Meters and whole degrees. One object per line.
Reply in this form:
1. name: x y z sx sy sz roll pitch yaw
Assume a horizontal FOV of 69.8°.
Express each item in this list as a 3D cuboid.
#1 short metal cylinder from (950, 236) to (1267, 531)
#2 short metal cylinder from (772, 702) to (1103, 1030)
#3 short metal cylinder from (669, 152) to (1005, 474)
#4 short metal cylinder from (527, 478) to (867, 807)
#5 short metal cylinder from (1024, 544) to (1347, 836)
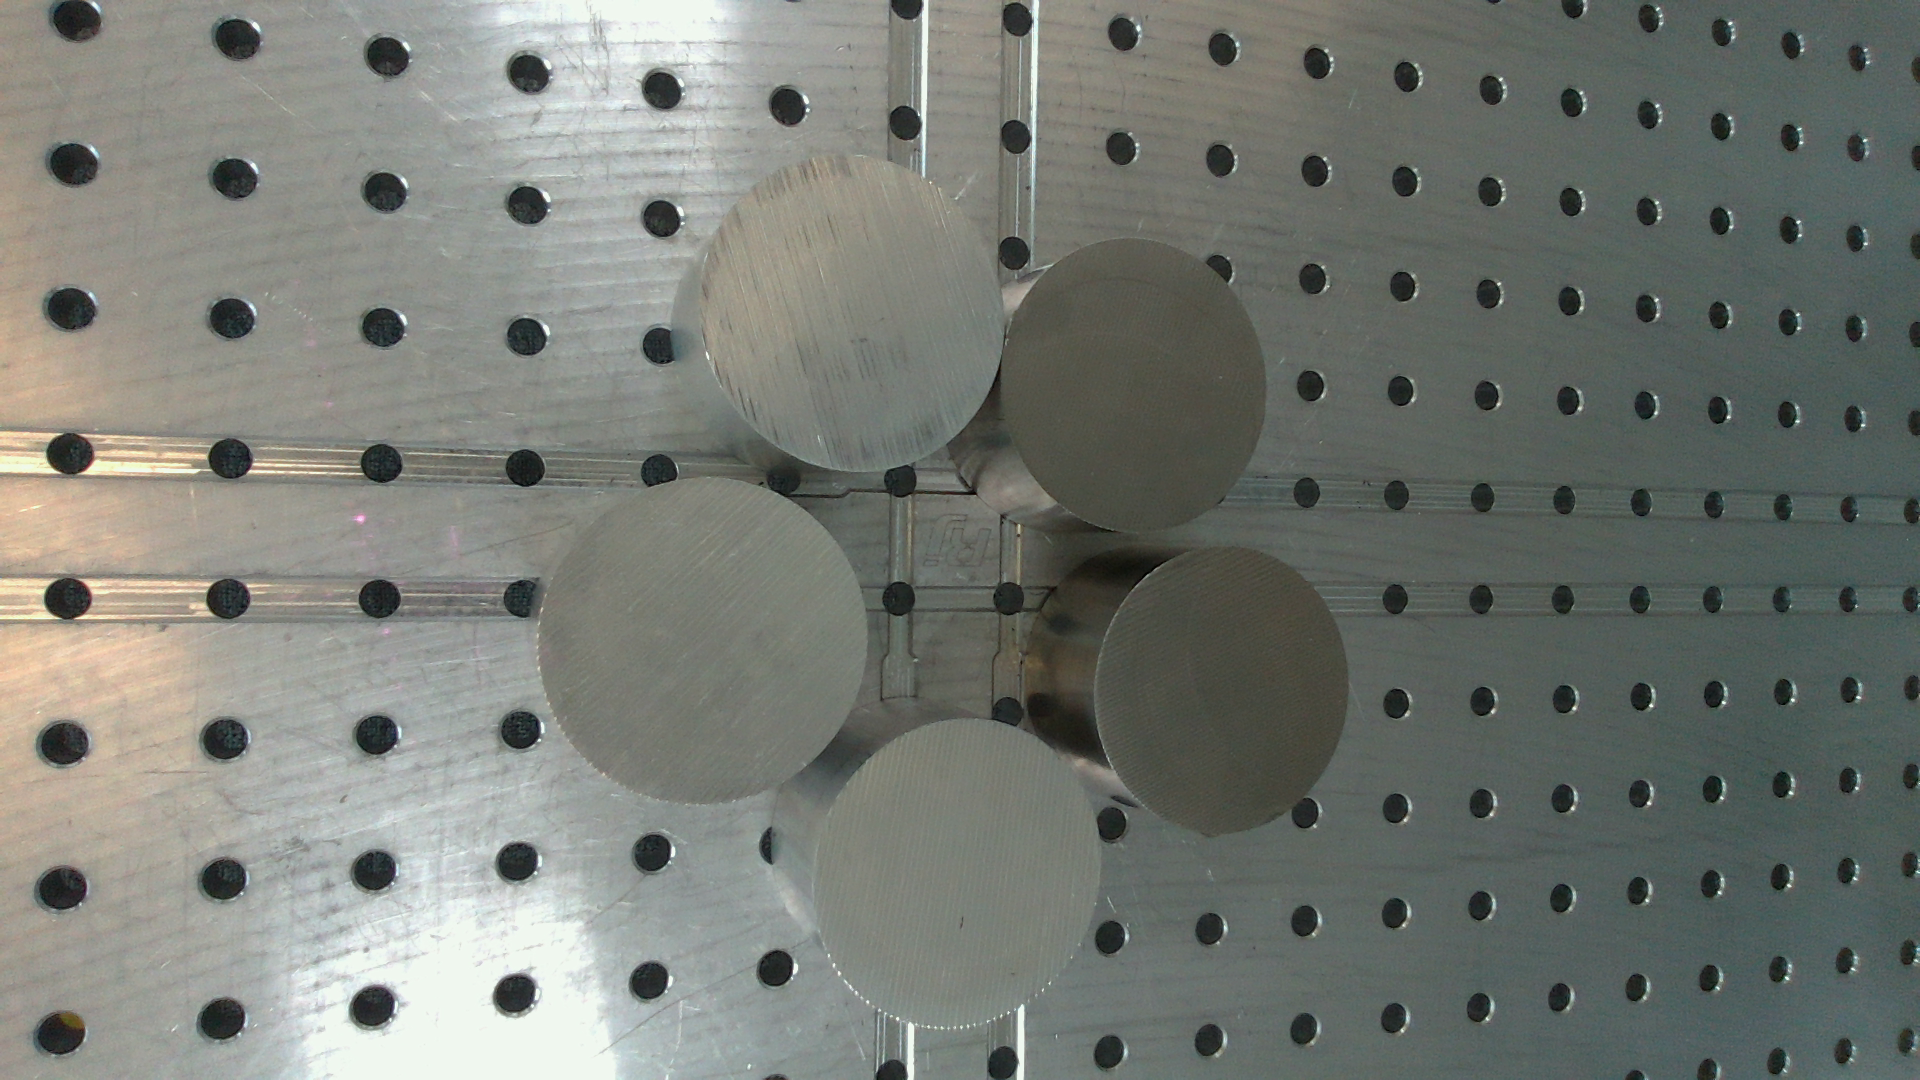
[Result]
1. short metal cylinder: 0.040 -0.042 0.396 0.080 0.050 0.080 0 90 -20
2. short metal cylinder: -0.008 0.086 0.379 0.080 0.050 0.080 0 90 -19
3. short metal cylinder: -0.034 -0.058 0.370 0.080 0.050 0.080 0 90 -20
4. short metal cylinder: -0.069 0.025 0.357 0.080 0.050 0.080 0 90 -20
5. short metal cylinder: 0.065 0.042 0.406 0.080 0.050 0.080 -1 92 -20
